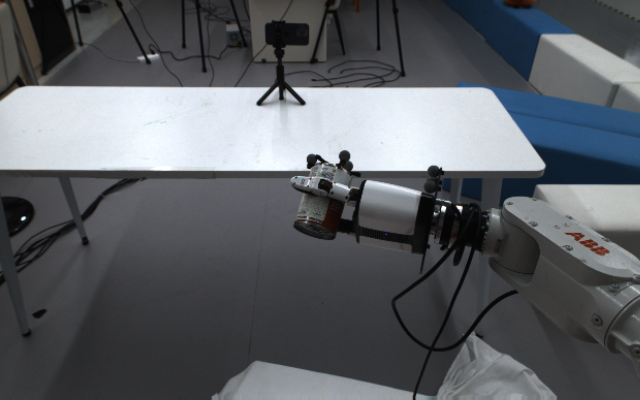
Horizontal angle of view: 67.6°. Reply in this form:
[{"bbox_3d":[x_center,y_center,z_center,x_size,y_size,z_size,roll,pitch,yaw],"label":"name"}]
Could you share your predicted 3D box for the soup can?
[{"bbox_3d":[0.005,0.001,0.743,0.067,0.067,0.101,12,71,14],"label":"soup can"}]
